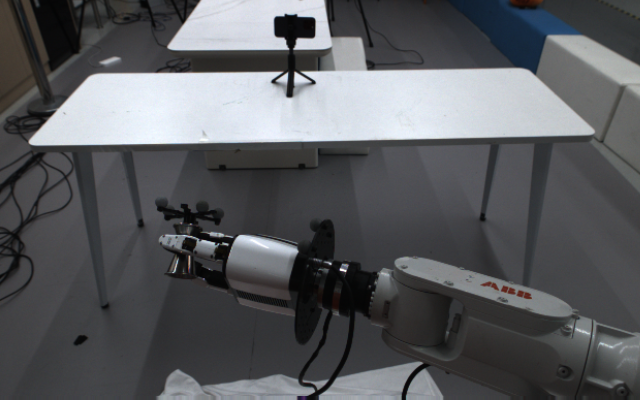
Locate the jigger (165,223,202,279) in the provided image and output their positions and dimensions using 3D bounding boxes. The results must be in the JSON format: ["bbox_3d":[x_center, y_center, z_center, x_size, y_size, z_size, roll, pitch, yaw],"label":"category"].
[{"bbox_3d":[-0.182,0.068,0.648,0.043,0.043,0.071,3,72,1],"label":"jigger"}]
